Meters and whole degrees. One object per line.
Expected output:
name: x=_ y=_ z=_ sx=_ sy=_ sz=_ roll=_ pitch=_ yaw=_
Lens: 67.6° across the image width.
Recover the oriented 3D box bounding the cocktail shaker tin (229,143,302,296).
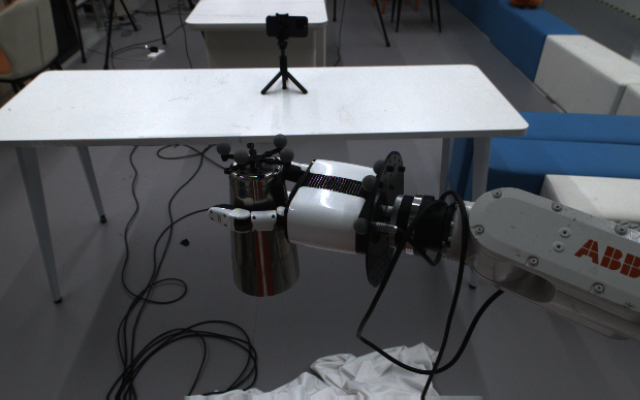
cocktail shaker tin: x=-0.071 y=0.028 z=0.630 sx=0.093 sy=0.170 sz=0.093 roll=-1 pitch=32 yaw=1
